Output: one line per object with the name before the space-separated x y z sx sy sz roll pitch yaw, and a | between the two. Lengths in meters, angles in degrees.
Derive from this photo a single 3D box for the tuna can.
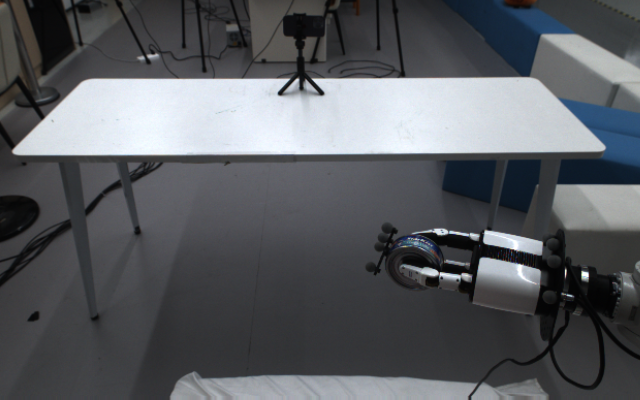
tuna can | 0.147 0.095 0.741 0.085 0.085 0.034 12 29 14
